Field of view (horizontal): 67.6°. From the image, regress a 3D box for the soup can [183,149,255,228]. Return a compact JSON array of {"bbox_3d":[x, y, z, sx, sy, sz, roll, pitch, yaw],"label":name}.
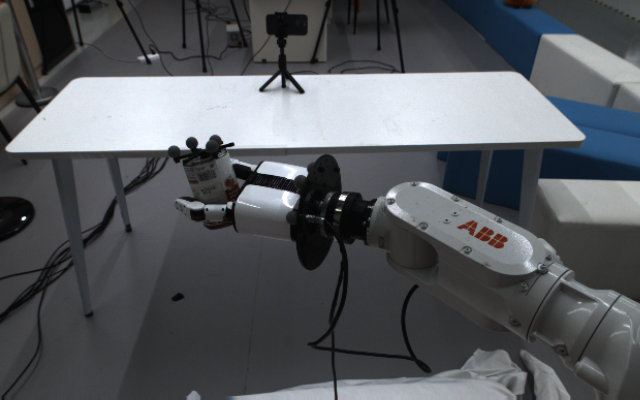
[{"bbox_3d":[-0.150,-0.016,0.698,0.067,0.101,0.067,-13,20,5],"label":"soup can"}]
